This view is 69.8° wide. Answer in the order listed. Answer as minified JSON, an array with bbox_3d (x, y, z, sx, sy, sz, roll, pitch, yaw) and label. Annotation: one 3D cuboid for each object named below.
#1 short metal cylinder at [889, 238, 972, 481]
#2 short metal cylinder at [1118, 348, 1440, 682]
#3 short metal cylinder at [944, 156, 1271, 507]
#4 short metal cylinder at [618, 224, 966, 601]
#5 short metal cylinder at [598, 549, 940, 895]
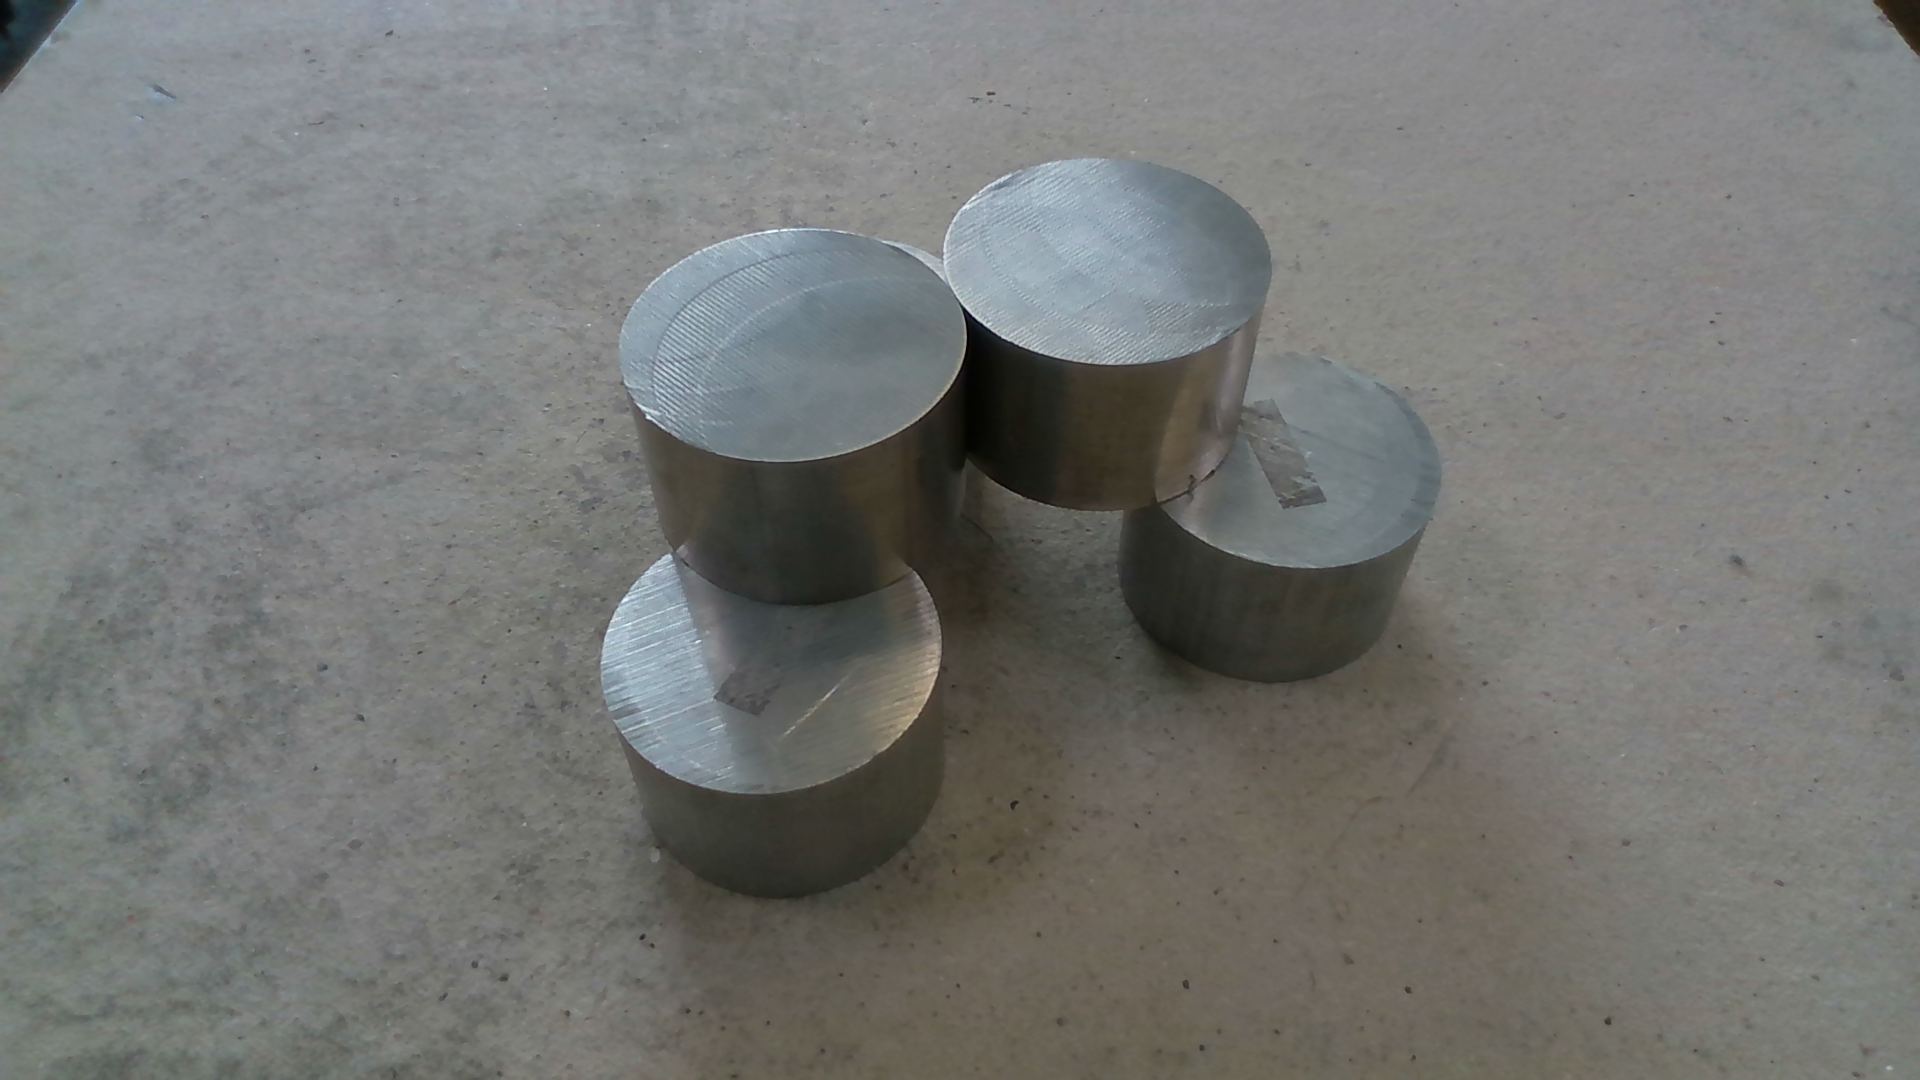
[{"bbox_3d":[-0.034,-0.047,0.417,0.080,0.050,0.080,0,50,0],"label":"short metal cylinder"},{"bbox_3d":[0.086,-0.008,0.384,0.080,0.050,0.080,0,50,0],"label":"short metal cylinder"},{"bbox_3d":[0.036,-0.055,0.357,0.080,0.050,0.080,0,50,0],"label":"short metal cylinder"},{"bbox_3d":[-0.039,-0.032,0.338,0.080,0.050,0.080,0,51,0],"label":"short metal cylinder"},{"bbox_3d":[-0.045,0.040,0.344,0.080,0.050,0.080,0,50,0],"label":"short metal cylinder"}]
